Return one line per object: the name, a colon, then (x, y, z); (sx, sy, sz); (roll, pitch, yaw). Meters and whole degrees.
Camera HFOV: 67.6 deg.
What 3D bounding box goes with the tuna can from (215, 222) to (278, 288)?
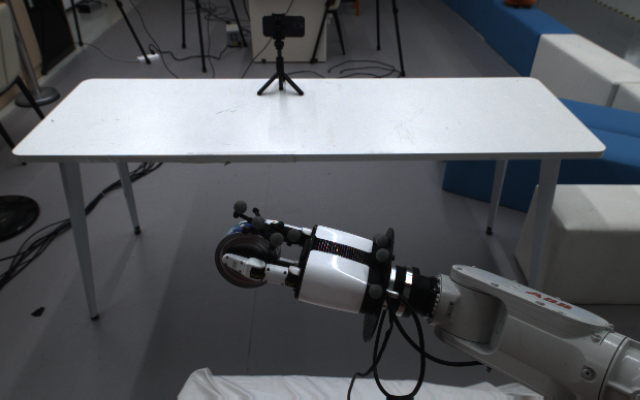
tuna can: (-0.096, 0.076, 0.662); (0.085, 0.085, 0.034); (4, 20, 3)
